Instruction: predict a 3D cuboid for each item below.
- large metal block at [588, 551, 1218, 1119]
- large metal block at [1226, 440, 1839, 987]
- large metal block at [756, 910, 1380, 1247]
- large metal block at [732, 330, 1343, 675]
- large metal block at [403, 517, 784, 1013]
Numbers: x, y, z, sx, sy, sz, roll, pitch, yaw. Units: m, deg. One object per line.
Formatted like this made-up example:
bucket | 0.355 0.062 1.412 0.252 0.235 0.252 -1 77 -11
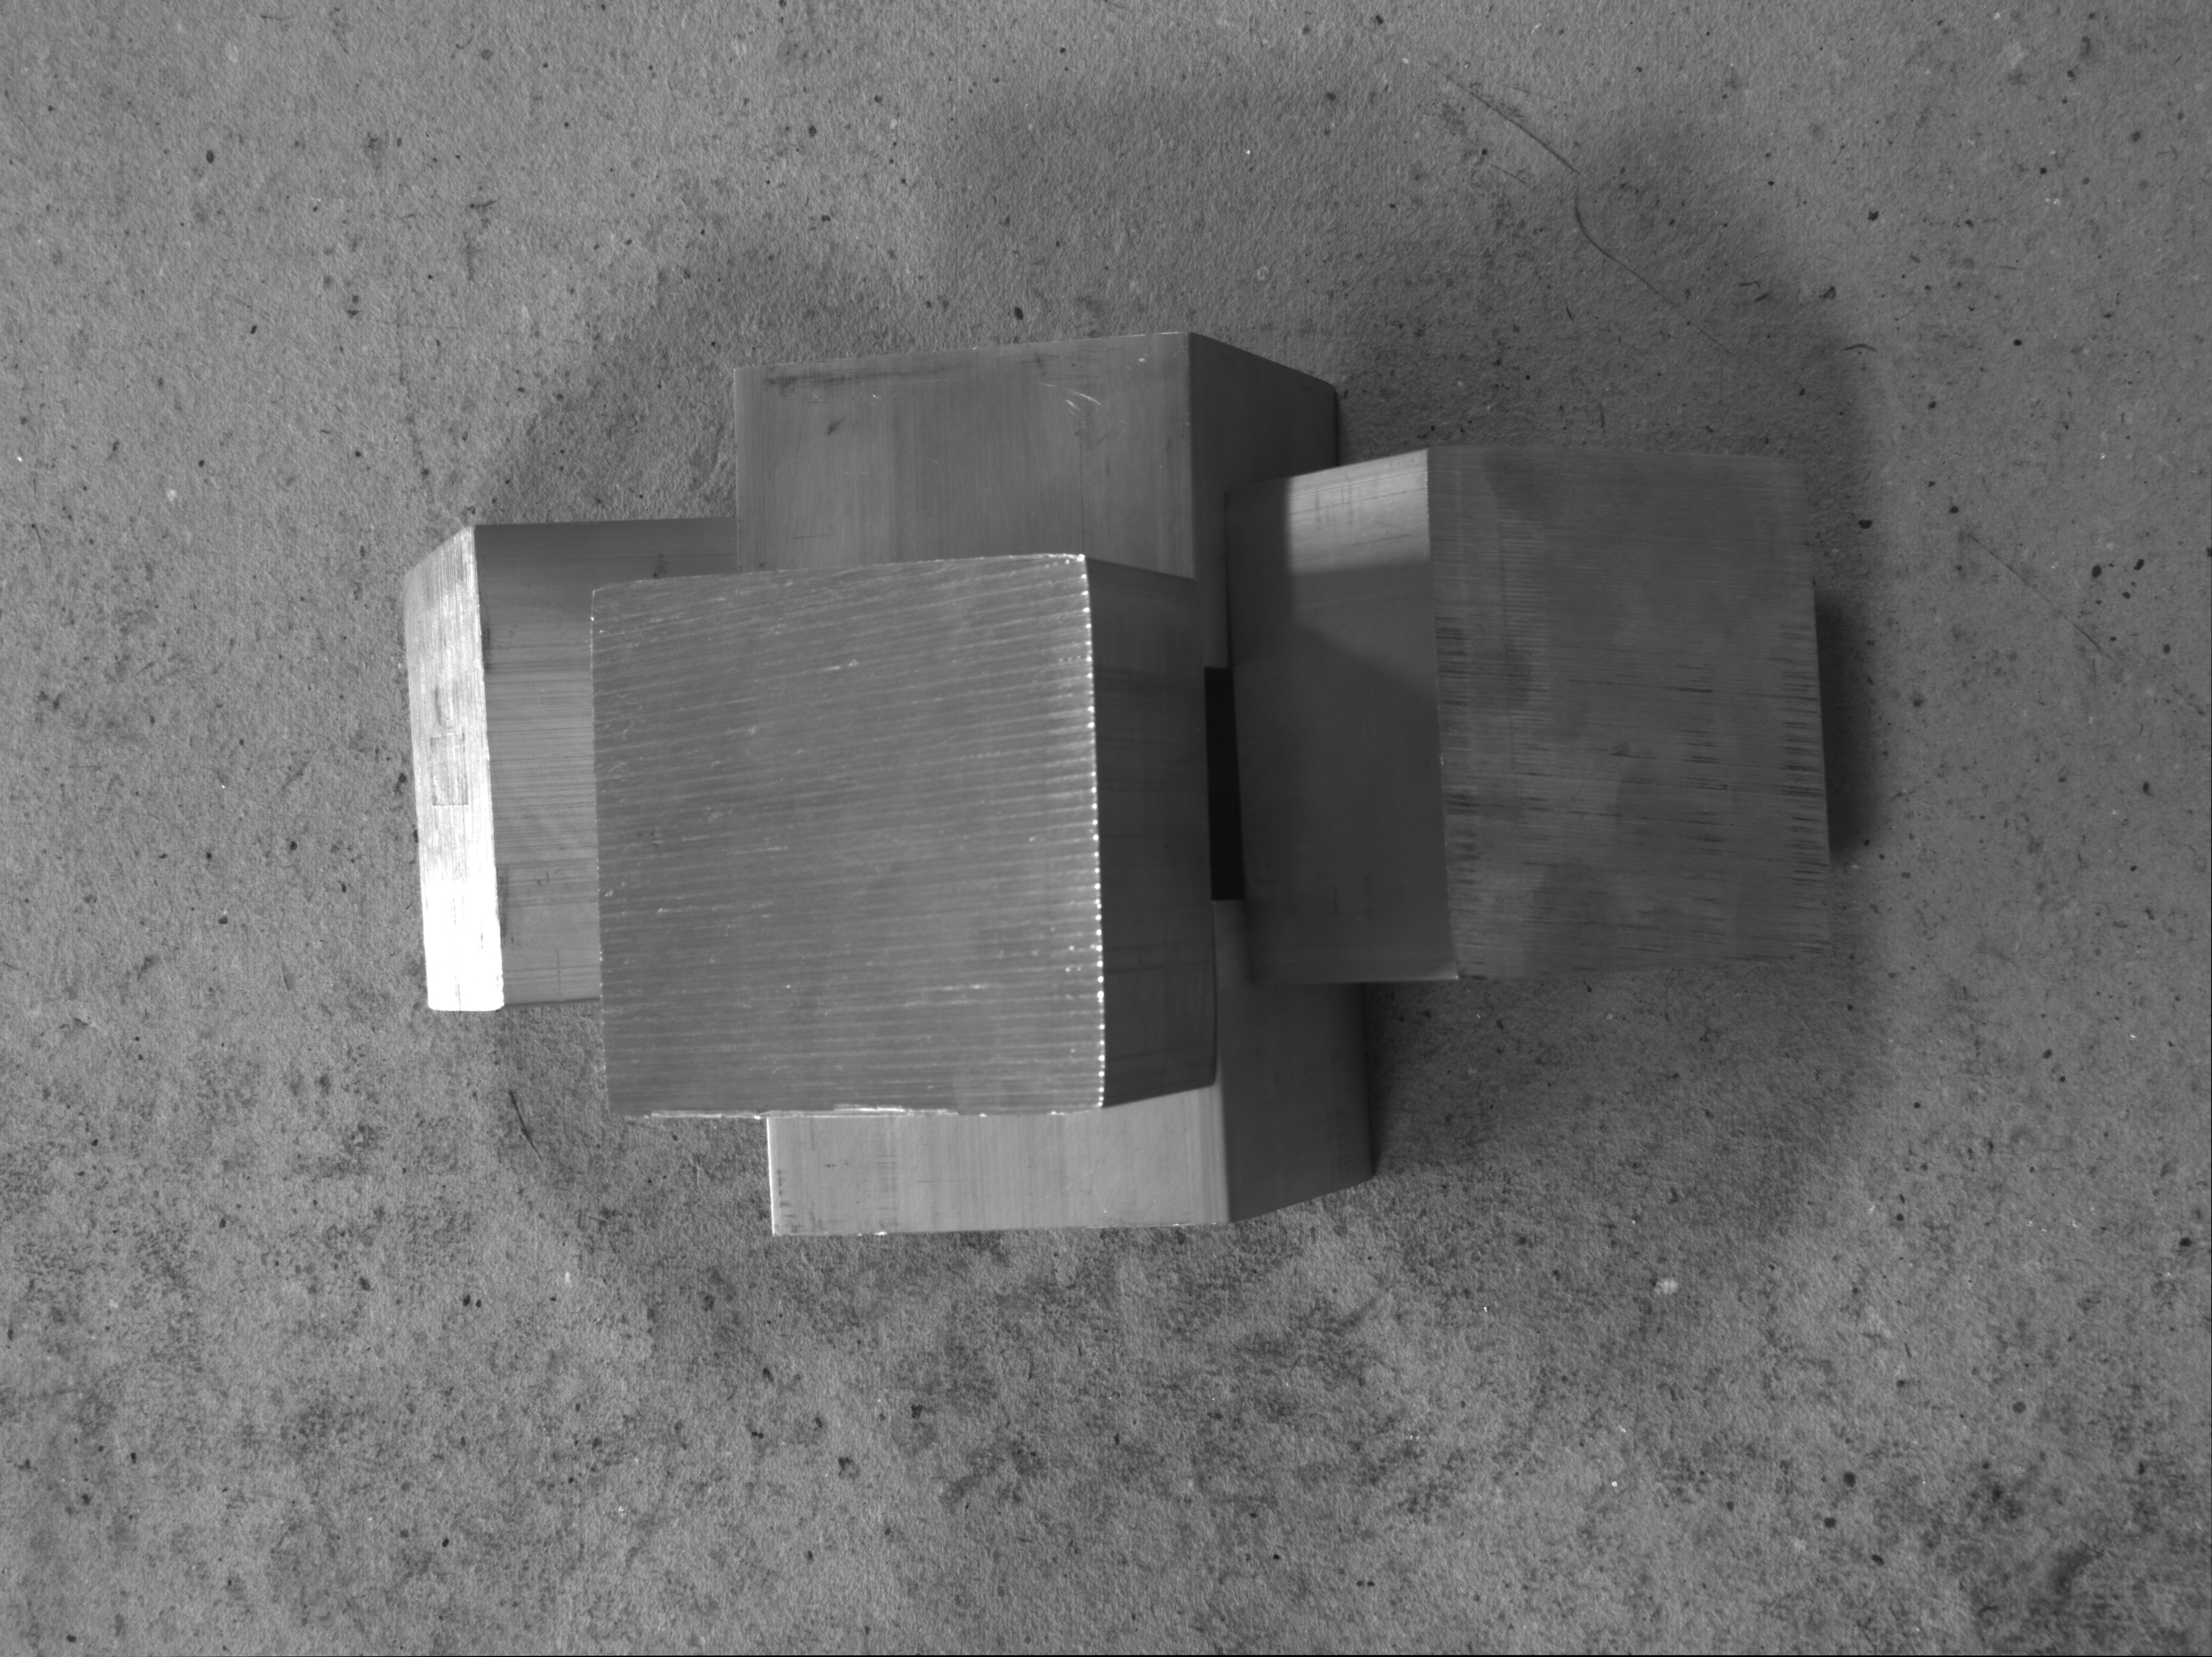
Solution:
large metal block | -0.030 0.002 0.559 0.080 0.050 0.080 -2 89 20
large metal block | 0.068 -0.017 0.584 0.050 0.080 0.080 -5 88 55
large metal block | -0.005 0.041 0.621 0.080 0.080 0.050 -4 89 21
large metal block | -0.009 -0.051 0.621 0.080 0.080 0.050 -2 89 20
large metal block | -0.090 -0.009 0.642 0.050 0.080 0.080 -3 88 -20
